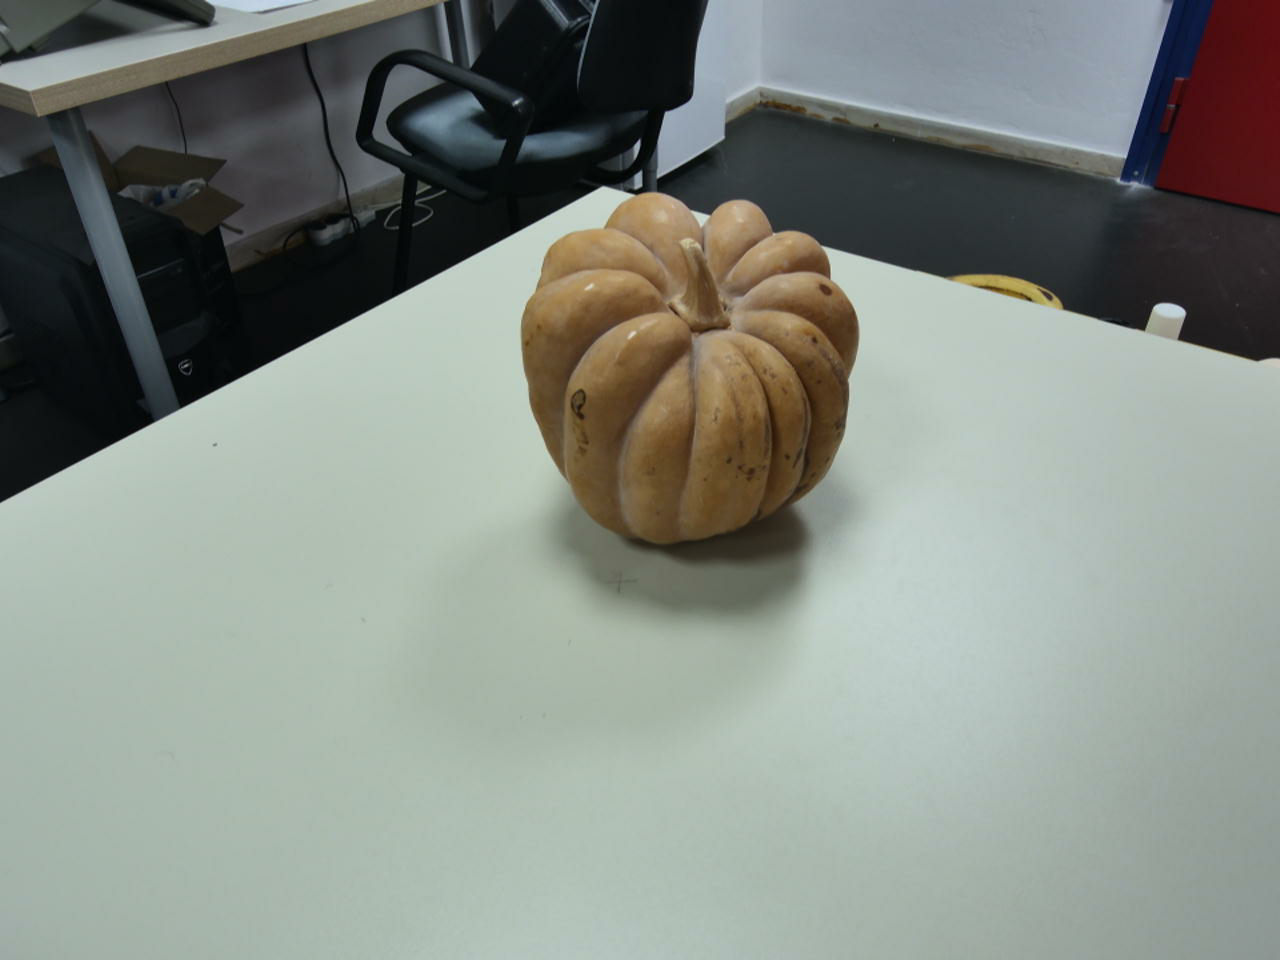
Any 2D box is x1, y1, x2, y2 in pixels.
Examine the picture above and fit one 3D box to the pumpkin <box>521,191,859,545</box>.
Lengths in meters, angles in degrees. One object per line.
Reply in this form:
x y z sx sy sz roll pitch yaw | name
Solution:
0.026 -0.060 0.571 0.199 0.177 0.198 -1 37 0 | pumpkin
